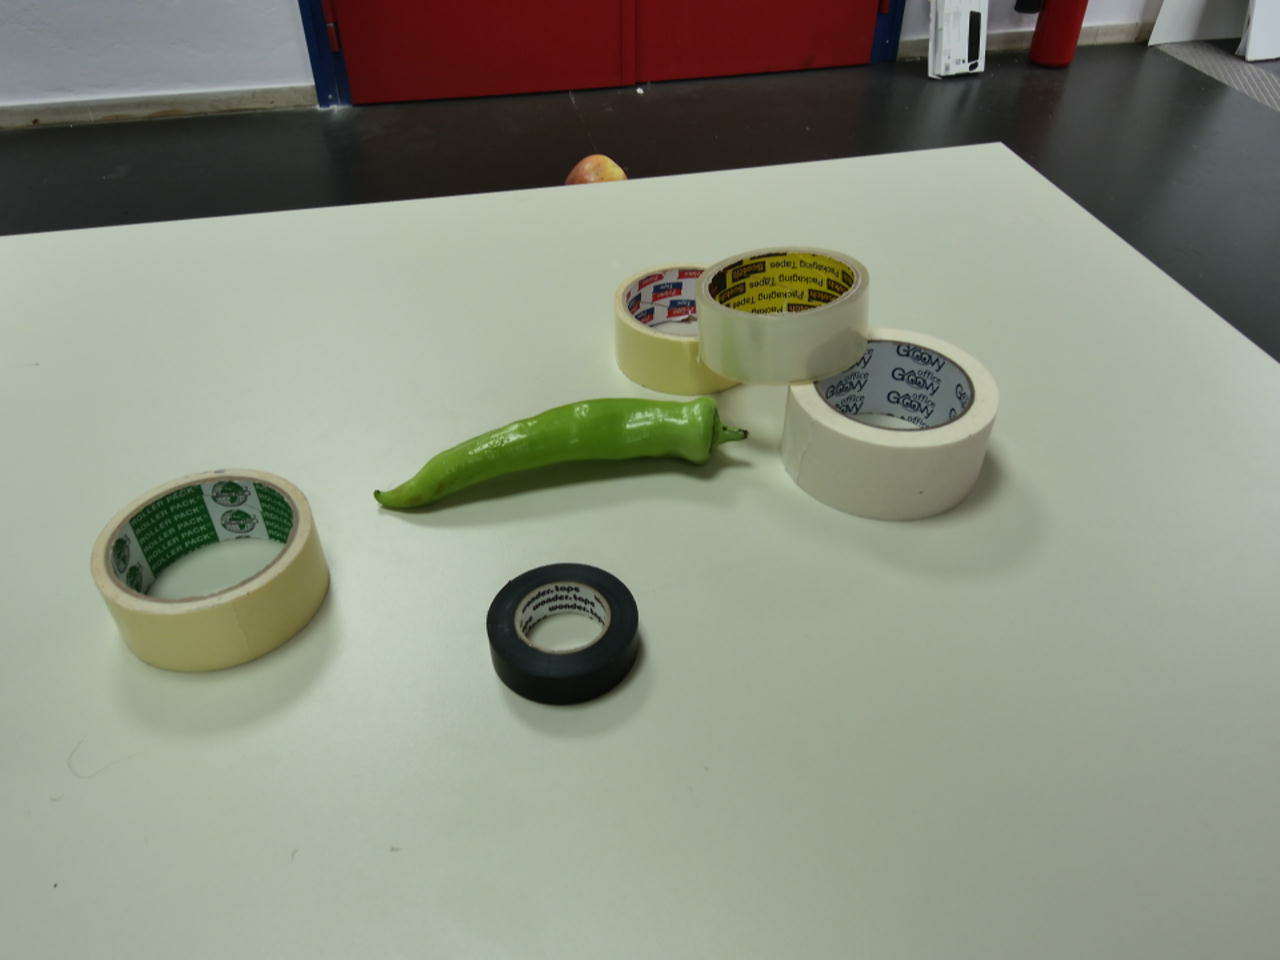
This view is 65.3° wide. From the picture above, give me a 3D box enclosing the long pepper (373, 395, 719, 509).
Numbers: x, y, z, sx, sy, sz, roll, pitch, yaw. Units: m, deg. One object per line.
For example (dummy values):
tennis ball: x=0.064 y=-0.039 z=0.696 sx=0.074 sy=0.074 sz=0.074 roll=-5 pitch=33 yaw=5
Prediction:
long pepper: x=-0.045 y=-0.020 z=0.538 sx=0.197 sy=0.038 sz=0.046 roll=-7 pitch=40 yaw=-9
